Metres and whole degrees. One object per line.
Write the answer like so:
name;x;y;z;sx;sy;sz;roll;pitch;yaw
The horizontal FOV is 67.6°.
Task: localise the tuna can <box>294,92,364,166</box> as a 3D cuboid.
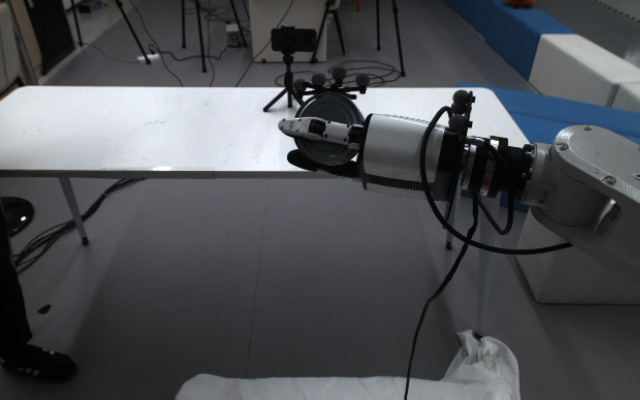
tuna can;0.013;-0.086;0.591;0.085;0.085;0.034;15;1;18
